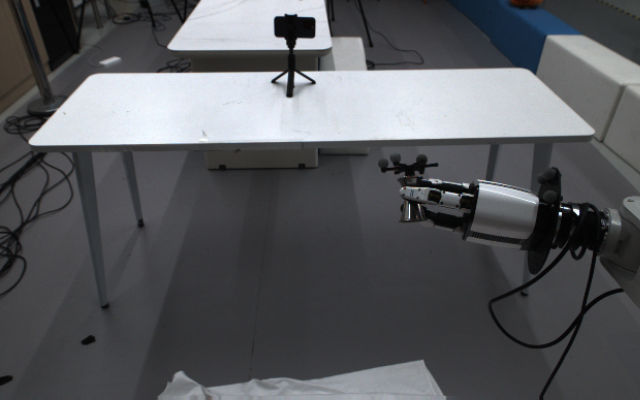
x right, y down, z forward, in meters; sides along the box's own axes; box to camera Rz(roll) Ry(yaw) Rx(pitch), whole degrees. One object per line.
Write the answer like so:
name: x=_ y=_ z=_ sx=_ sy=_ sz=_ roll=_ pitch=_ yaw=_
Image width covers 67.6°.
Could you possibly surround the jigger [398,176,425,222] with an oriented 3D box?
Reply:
jigger: x=0.141 y=-0.002 z=0.748 sx=0.043 sy=0.071 sz=0.043 roll=-2 pitch=-7 yaw=0
